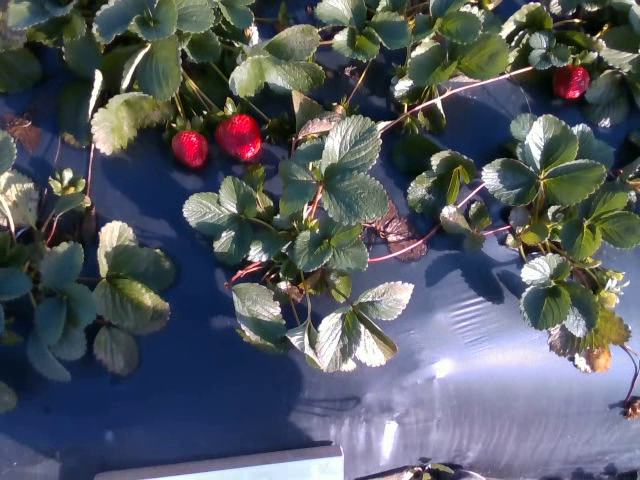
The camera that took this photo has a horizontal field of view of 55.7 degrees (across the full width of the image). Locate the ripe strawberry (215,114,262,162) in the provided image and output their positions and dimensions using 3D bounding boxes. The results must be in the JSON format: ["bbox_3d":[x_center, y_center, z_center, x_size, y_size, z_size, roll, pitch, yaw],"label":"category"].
[{"bbox_3d":[-0.082,-0.107,0.639,0.052,0.057,0.046,-34,-26,12],"label":"ripe strawberry"}]

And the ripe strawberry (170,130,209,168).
[{"bbox_3d":[-0.136,-0.092,0.631,0.043,0.051,0.037,-42,-25,16],"label":"ripe strawberry"}]
